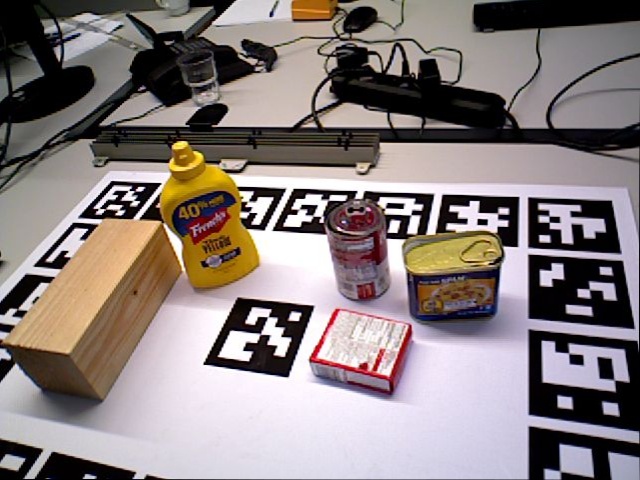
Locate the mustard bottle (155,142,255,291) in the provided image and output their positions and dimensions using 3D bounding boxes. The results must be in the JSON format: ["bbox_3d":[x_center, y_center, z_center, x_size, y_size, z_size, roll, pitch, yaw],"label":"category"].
[{"bbox_3d":[-0.141,-0.028,0.643,0.095,0.195,0.058,-13,40,-4],"label":"mustard bottle"}]

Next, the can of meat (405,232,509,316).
[{"bbox_3d":[0.143,0.033,0.581,0.102,0.085,0.057,-5,42,4],"label":"can of meat"}]

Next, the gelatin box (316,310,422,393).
[{"bbox_3d":[0.051,0.108,0.553,0.090,0.030,0.071,8,47,26],"label":"gelatin box"}]

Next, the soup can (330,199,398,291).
[{"bbox_3d":[0.052,0.000,0.612,0.068,0.104,0.067,-7,42,6],"label":"soup can"}]

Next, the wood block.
[{"bbox_3d":[-0.252,0.073,0.630,0.091,0.091,0.201,5,39,16],"label":"wood block"}]
